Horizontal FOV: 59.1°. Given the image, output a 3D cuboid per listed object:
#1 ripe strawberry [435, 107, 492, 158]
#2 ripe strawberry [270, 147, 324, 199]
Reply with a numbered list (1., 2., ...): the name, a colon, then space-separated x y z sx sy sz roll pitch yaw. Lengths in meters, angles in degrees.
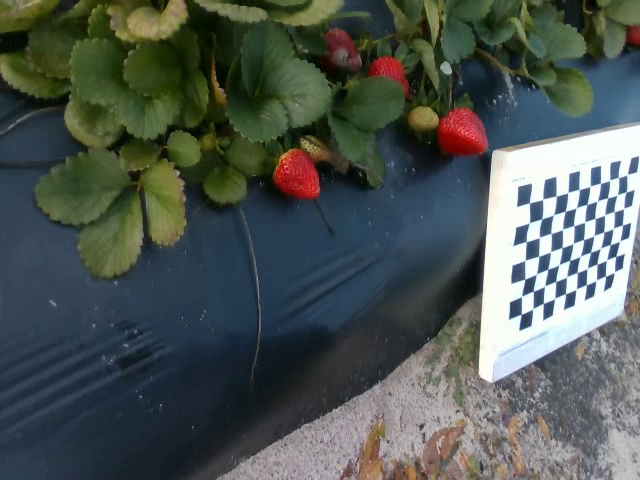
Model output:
1. ripe strawberry: 0.064 -0.044 0.238 0.022 0.025 0.030 -20 35 -2
2. ripe strawberry: -0.007 -0.021 0.197 0.018 0.022 0.017 -37 -9 -22
